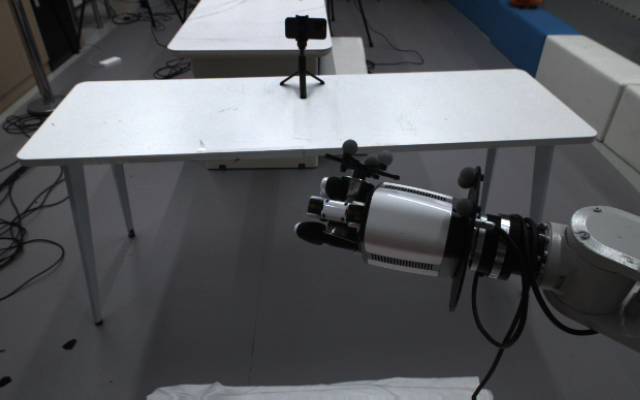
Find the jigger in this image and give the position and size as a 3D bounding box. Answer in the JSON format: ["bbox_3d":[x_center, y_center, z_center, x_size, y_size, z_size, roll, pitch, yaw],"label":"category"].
[{"bbox_3d":[0.034,0.010,0.549,0.043,0.071,0.043,19,-6,2],"label":"jigger"}]
